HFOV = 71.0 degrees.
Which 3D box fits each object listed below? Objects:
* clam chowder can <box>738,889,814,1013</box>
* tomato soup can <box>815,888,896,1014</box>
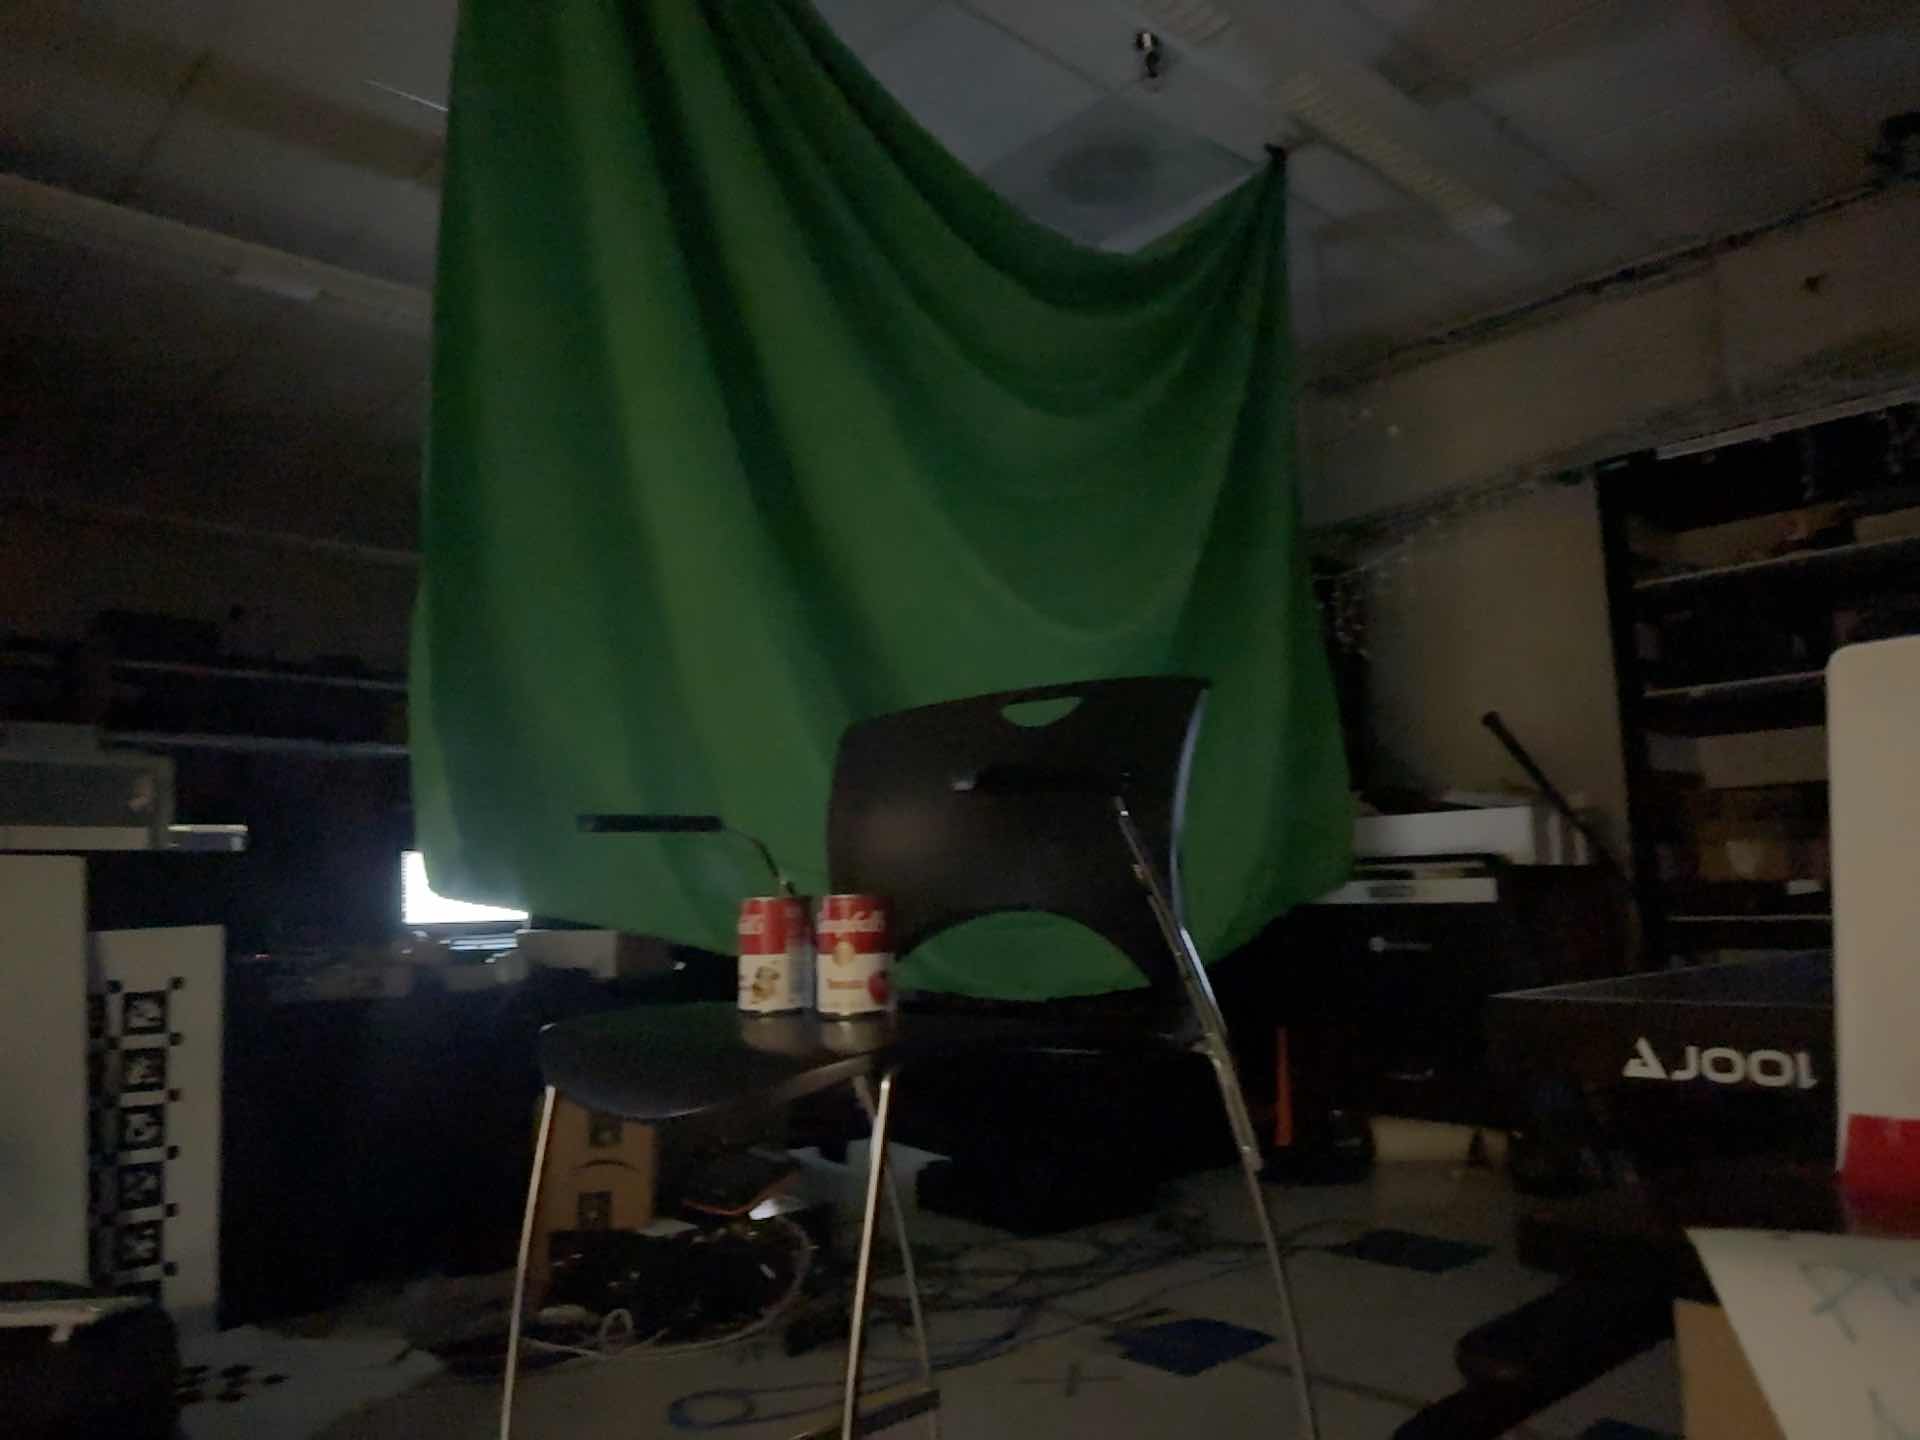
[{"bbox_3d":[-0.165,0.205,1.206,0.068,0.102,0.068,-1,-3,0],"label":"clam chowder can"},{"bbox_3d":[-0.089,0.194,1.139,0.067,0.102,0.067,0,-4,0],"label":"tomato soup can"}]
